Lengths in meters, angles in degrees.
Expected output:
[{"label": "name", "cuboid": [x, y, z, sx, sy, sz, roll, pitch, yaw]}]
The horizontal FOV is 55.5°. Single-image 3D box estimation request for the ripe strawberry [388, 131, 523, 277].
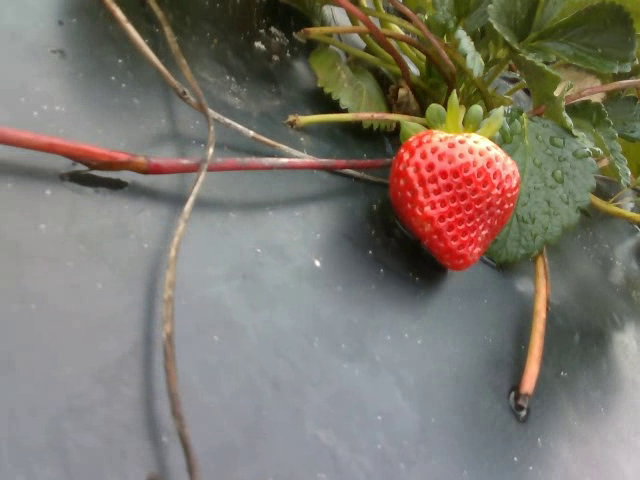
[{"label": "ripe strawberry", "cuboid": [0.054, -0.015, 0.230, 0.050, 0.064, 0.061, -4, -13, 39]}]
